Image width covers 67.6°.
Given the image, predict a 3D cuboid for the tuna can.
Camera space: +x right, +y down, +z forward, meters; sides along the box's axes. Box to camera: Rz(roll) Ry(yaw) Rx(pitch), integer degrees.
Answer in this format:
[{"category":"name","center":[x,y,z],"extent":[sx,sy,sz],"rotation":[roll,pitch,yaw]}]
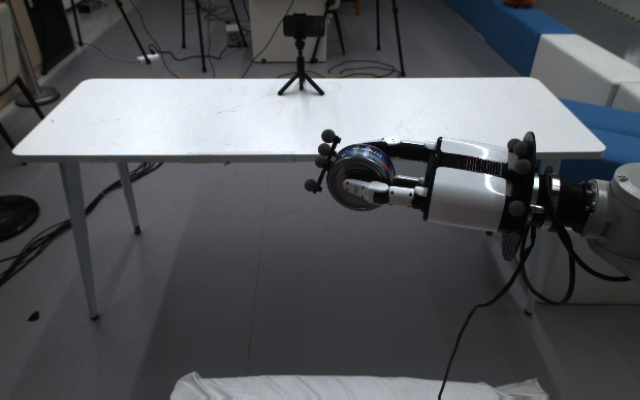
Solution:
[{"category":"tuna can","center":[0.054,-0.029,0.630],"extent":[0.085,0.085,0.034],"rotation":[9,35,10]}]
